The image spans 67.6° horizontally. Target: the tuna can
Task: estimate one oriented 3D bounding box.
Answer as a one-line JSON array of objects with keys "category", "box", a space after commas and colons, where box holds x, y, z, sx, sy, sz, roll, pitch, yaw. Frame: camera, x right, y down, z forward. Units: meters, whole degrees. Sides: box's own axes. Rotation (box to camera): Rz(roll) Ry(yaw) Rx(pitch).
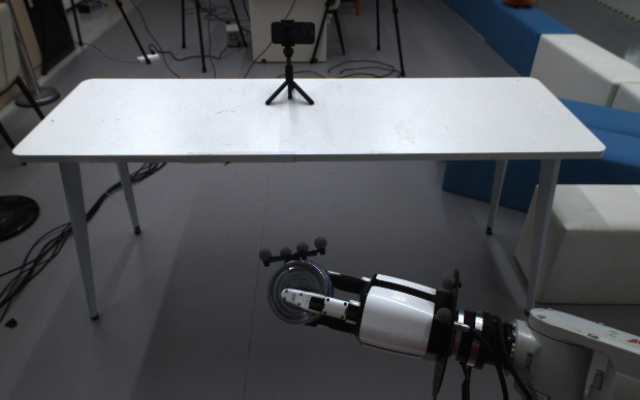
[{"category": "tuna can", "box": [-0.022, 0.128, 0.643, 0.085, 0.085, 0.034, 12, -6, 14]}]
